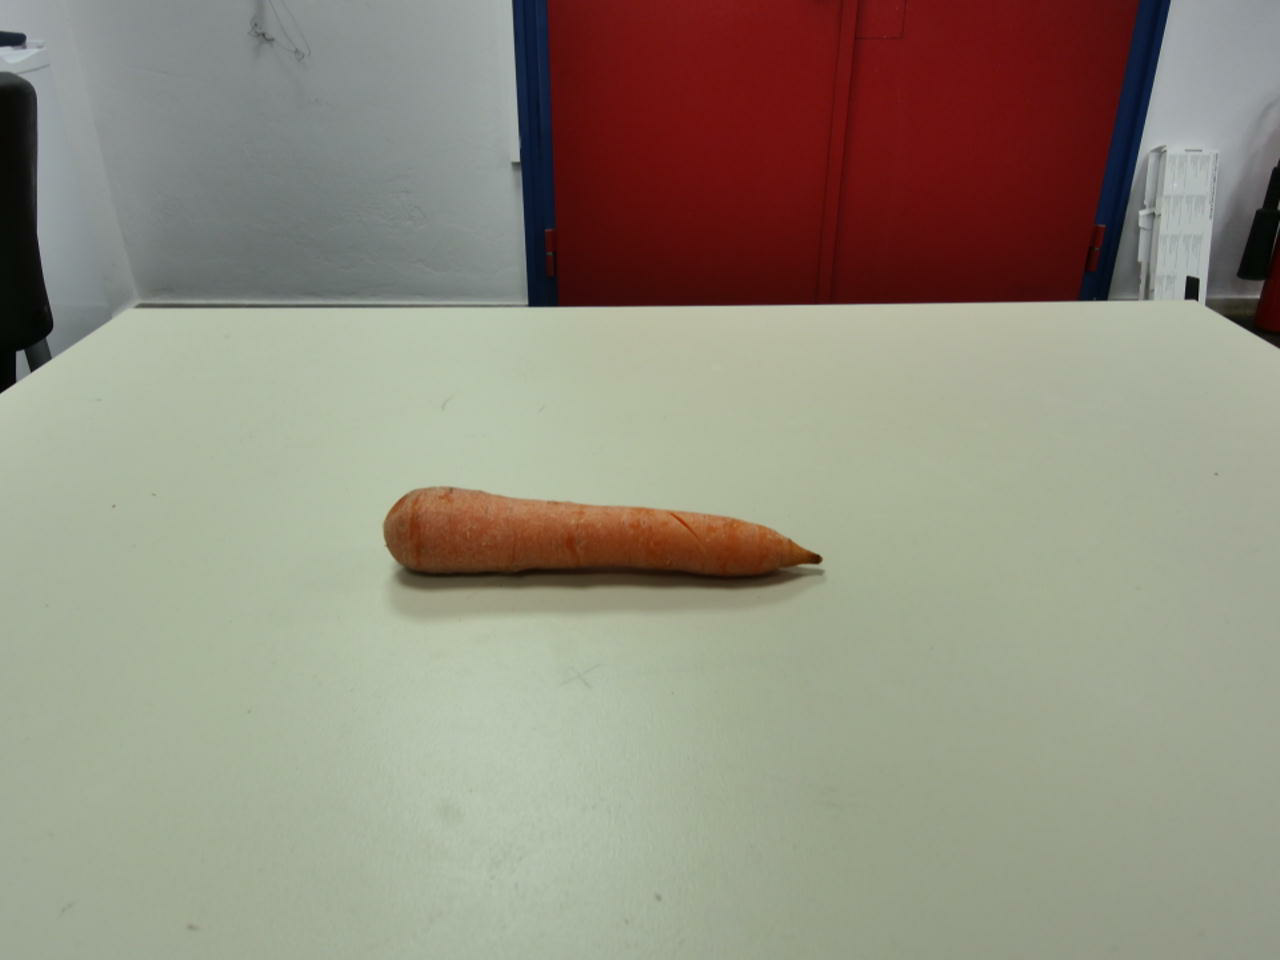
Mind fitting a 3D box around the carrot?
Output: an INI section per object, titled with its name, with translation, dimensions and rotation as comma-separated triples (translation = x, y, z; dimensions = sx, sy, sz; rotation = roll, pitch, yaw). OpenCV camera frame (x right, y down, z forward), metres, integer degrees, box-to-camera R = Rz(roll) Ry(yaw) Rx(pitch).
[carrot]
translation = -0.016, 0.023, 0.448
dimensions = 0.196, 0.041, 0.039
rotation = 0, 25, 0
